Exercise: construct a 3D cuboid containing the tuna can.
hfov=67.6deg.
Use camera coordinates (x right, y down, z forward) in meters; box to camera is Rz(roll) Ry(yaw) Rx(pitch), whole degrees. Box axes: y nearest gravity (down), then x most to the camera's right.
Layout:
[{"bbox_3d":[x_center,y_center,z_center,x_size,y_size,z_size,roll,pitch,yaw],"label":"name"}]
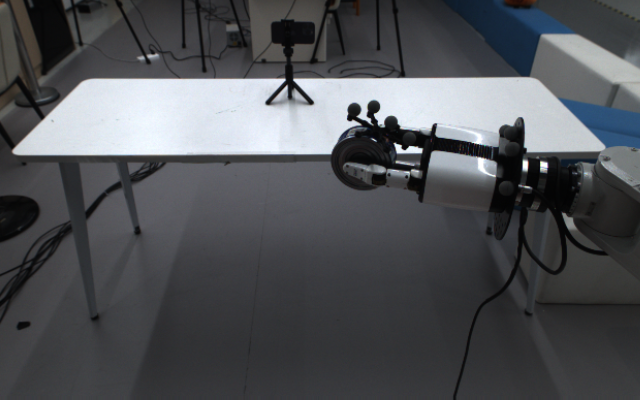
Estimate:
[{"bbox_3d":[0.062,-0.049,0.656,0.085,0.085,0.034,12,35,14],"label":"tuna can"}]
